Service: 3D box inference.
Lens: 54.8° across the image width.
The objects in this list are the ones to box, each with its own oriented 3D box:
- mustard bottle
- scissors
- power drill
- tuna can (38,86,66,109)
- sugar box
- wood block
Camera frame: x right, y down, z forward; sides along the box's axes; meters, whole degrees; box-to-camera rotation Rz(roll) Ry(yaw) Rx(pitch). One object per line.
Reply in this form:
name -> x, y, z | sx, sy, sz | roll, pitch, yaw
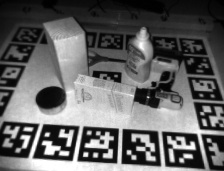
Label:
mustard bottle -> 0.086, -0.110, 0.696 | 0.059, 0.192, 0.095 | -31, 60, -22
scissors -> -0.050, -0.118, 0.794 | 0.203, 0.016, 0.087 | 5, 48, 1
power drill -> 0.129, -0.031, 0.711 | 0.184, 0.057, 0.187 | 14, 60, 8
tuna can -> -0.185, 0.029, 0.657 | 0.086, 0.034, 0.085 | 2, 53, -2
sugar box -> -0.018, 0.018, 0.644 | 0.176, 0.093, 0.045 | 14, 49, 6
wood block -> -0.135, -0.098, 0.666 | 0.091, 0.207, 0.089 | -20, 56, -16
